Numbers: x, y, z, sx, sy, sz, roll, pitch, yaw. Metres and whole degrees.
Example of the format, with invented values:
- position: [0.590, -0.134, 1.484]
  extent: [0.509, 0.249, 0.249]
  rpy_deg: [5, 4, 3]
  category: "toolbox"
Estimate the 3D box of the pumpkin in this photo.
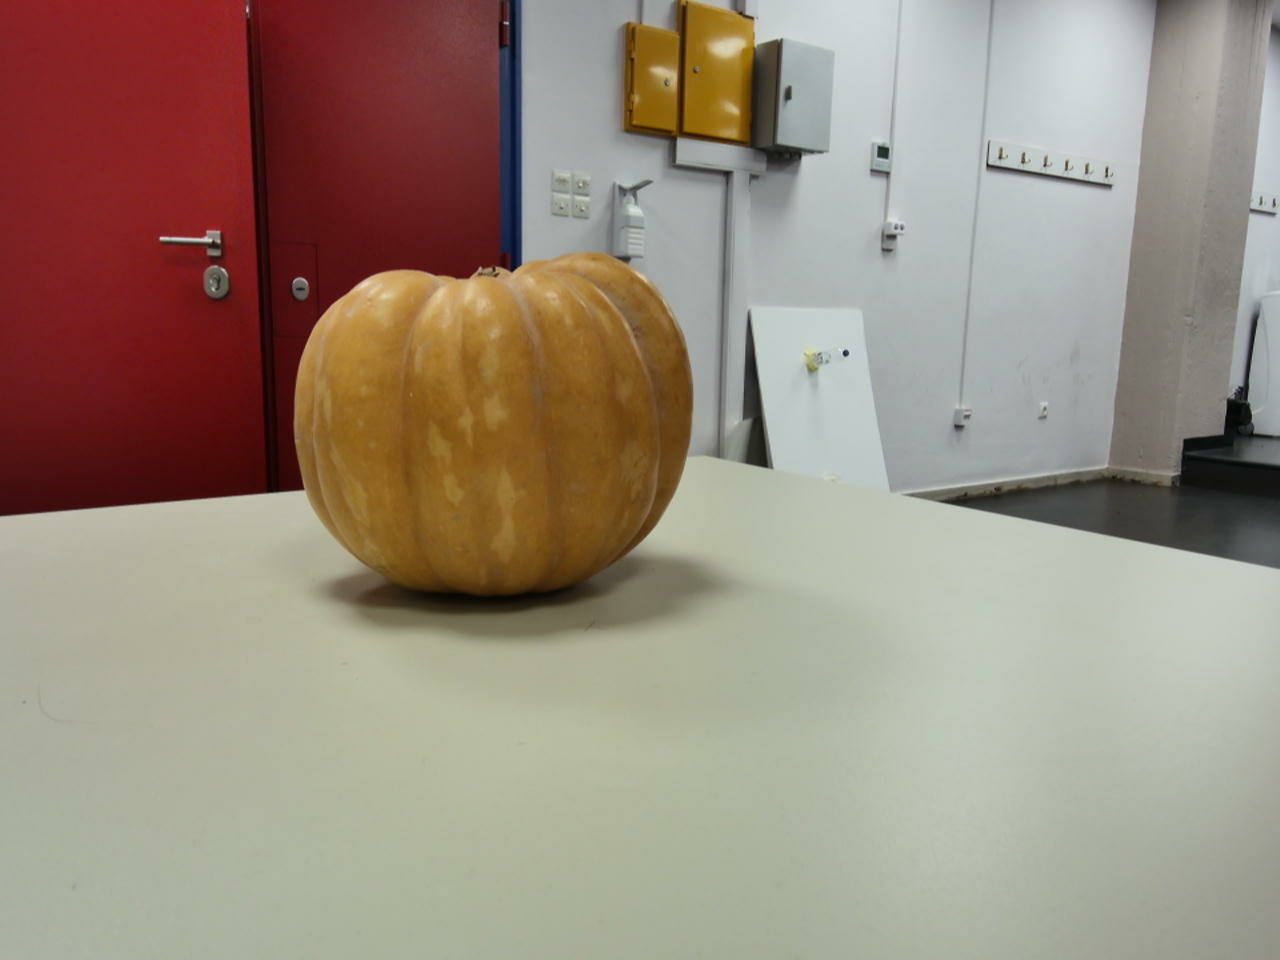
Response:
- position: [-0.080, -0.035, 0.579]
  extent: [0.230, 0.194, 0.230]
  rpy_deg: [1, 8, 0]
  category: "pumpkin"
